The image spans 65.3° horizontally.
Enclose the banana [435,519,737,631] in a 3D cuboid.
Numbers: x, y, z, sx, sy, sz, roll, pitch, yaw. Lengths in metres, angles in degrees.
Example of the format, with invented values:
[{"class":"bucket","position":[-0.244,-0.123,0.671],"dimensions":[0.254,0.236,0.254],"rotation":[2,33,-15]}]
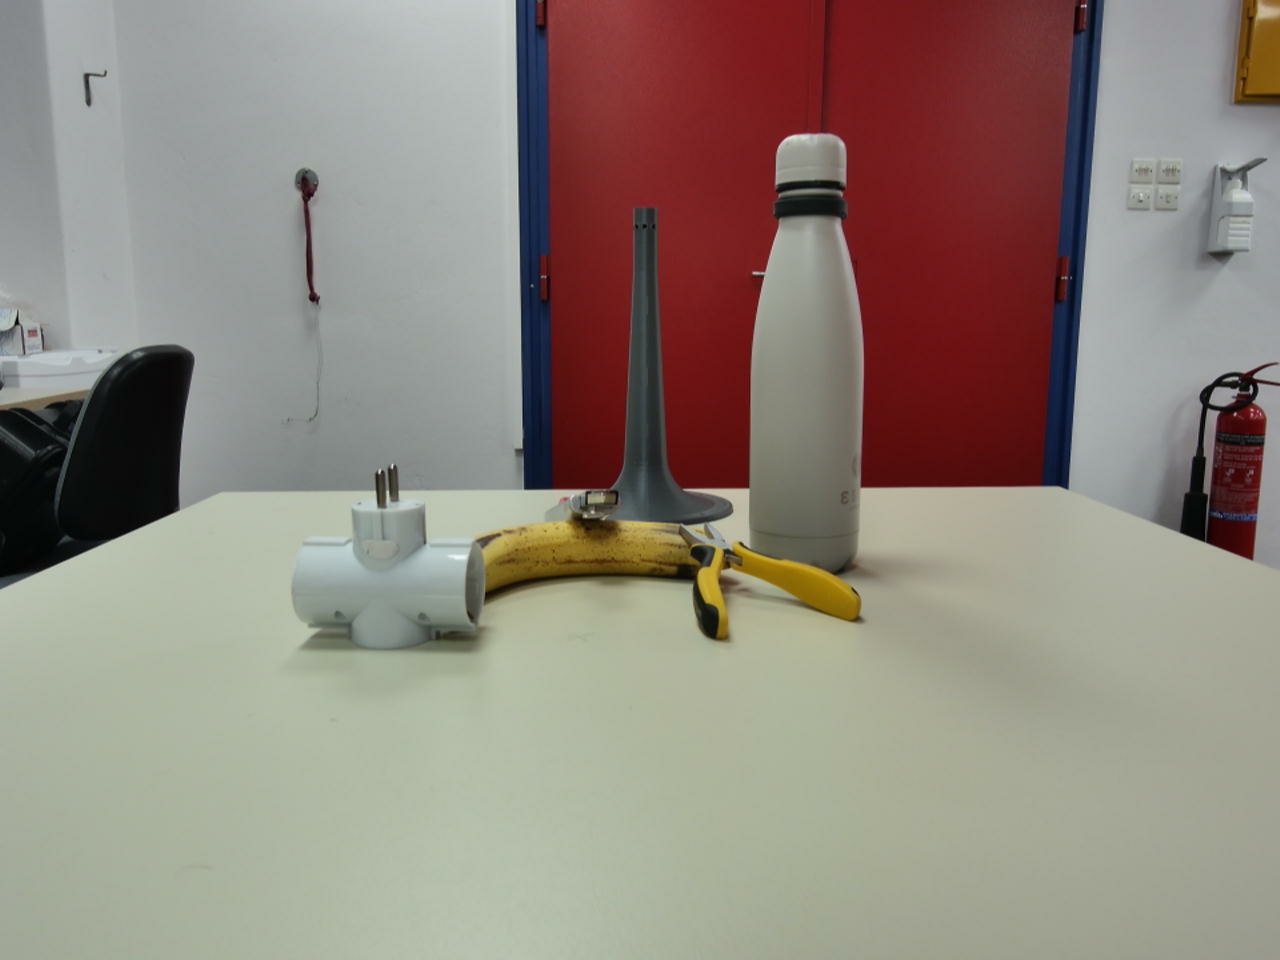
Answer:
[{"class":"banana","position":[-0.041,0.049,0.609],"dimensions":[0.186,0.038,0.097],"rotation":[-5,9,-28]}]
